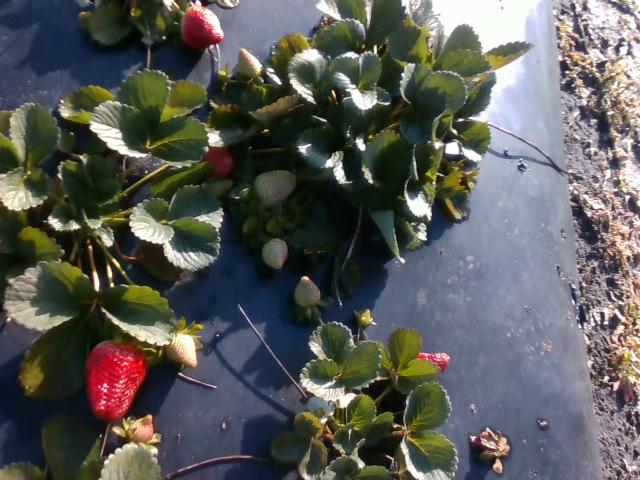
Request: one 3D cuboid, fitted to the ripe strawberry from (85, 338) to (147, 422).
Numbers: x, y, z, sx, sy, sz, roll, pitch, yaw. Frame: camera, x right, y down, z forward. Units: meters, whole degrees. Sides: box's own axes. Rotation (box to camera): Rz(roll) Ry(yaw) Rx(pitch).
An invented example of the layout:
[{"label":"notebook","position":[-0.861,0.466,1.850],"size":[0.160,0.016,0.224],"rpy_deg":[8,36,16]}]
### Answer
[{"label":"ripe strawberry","position":[-0.164,0.112,0.455],"size":[0.057,0.072,0.055],"rpy_deg":[-27,-39,20]}]
